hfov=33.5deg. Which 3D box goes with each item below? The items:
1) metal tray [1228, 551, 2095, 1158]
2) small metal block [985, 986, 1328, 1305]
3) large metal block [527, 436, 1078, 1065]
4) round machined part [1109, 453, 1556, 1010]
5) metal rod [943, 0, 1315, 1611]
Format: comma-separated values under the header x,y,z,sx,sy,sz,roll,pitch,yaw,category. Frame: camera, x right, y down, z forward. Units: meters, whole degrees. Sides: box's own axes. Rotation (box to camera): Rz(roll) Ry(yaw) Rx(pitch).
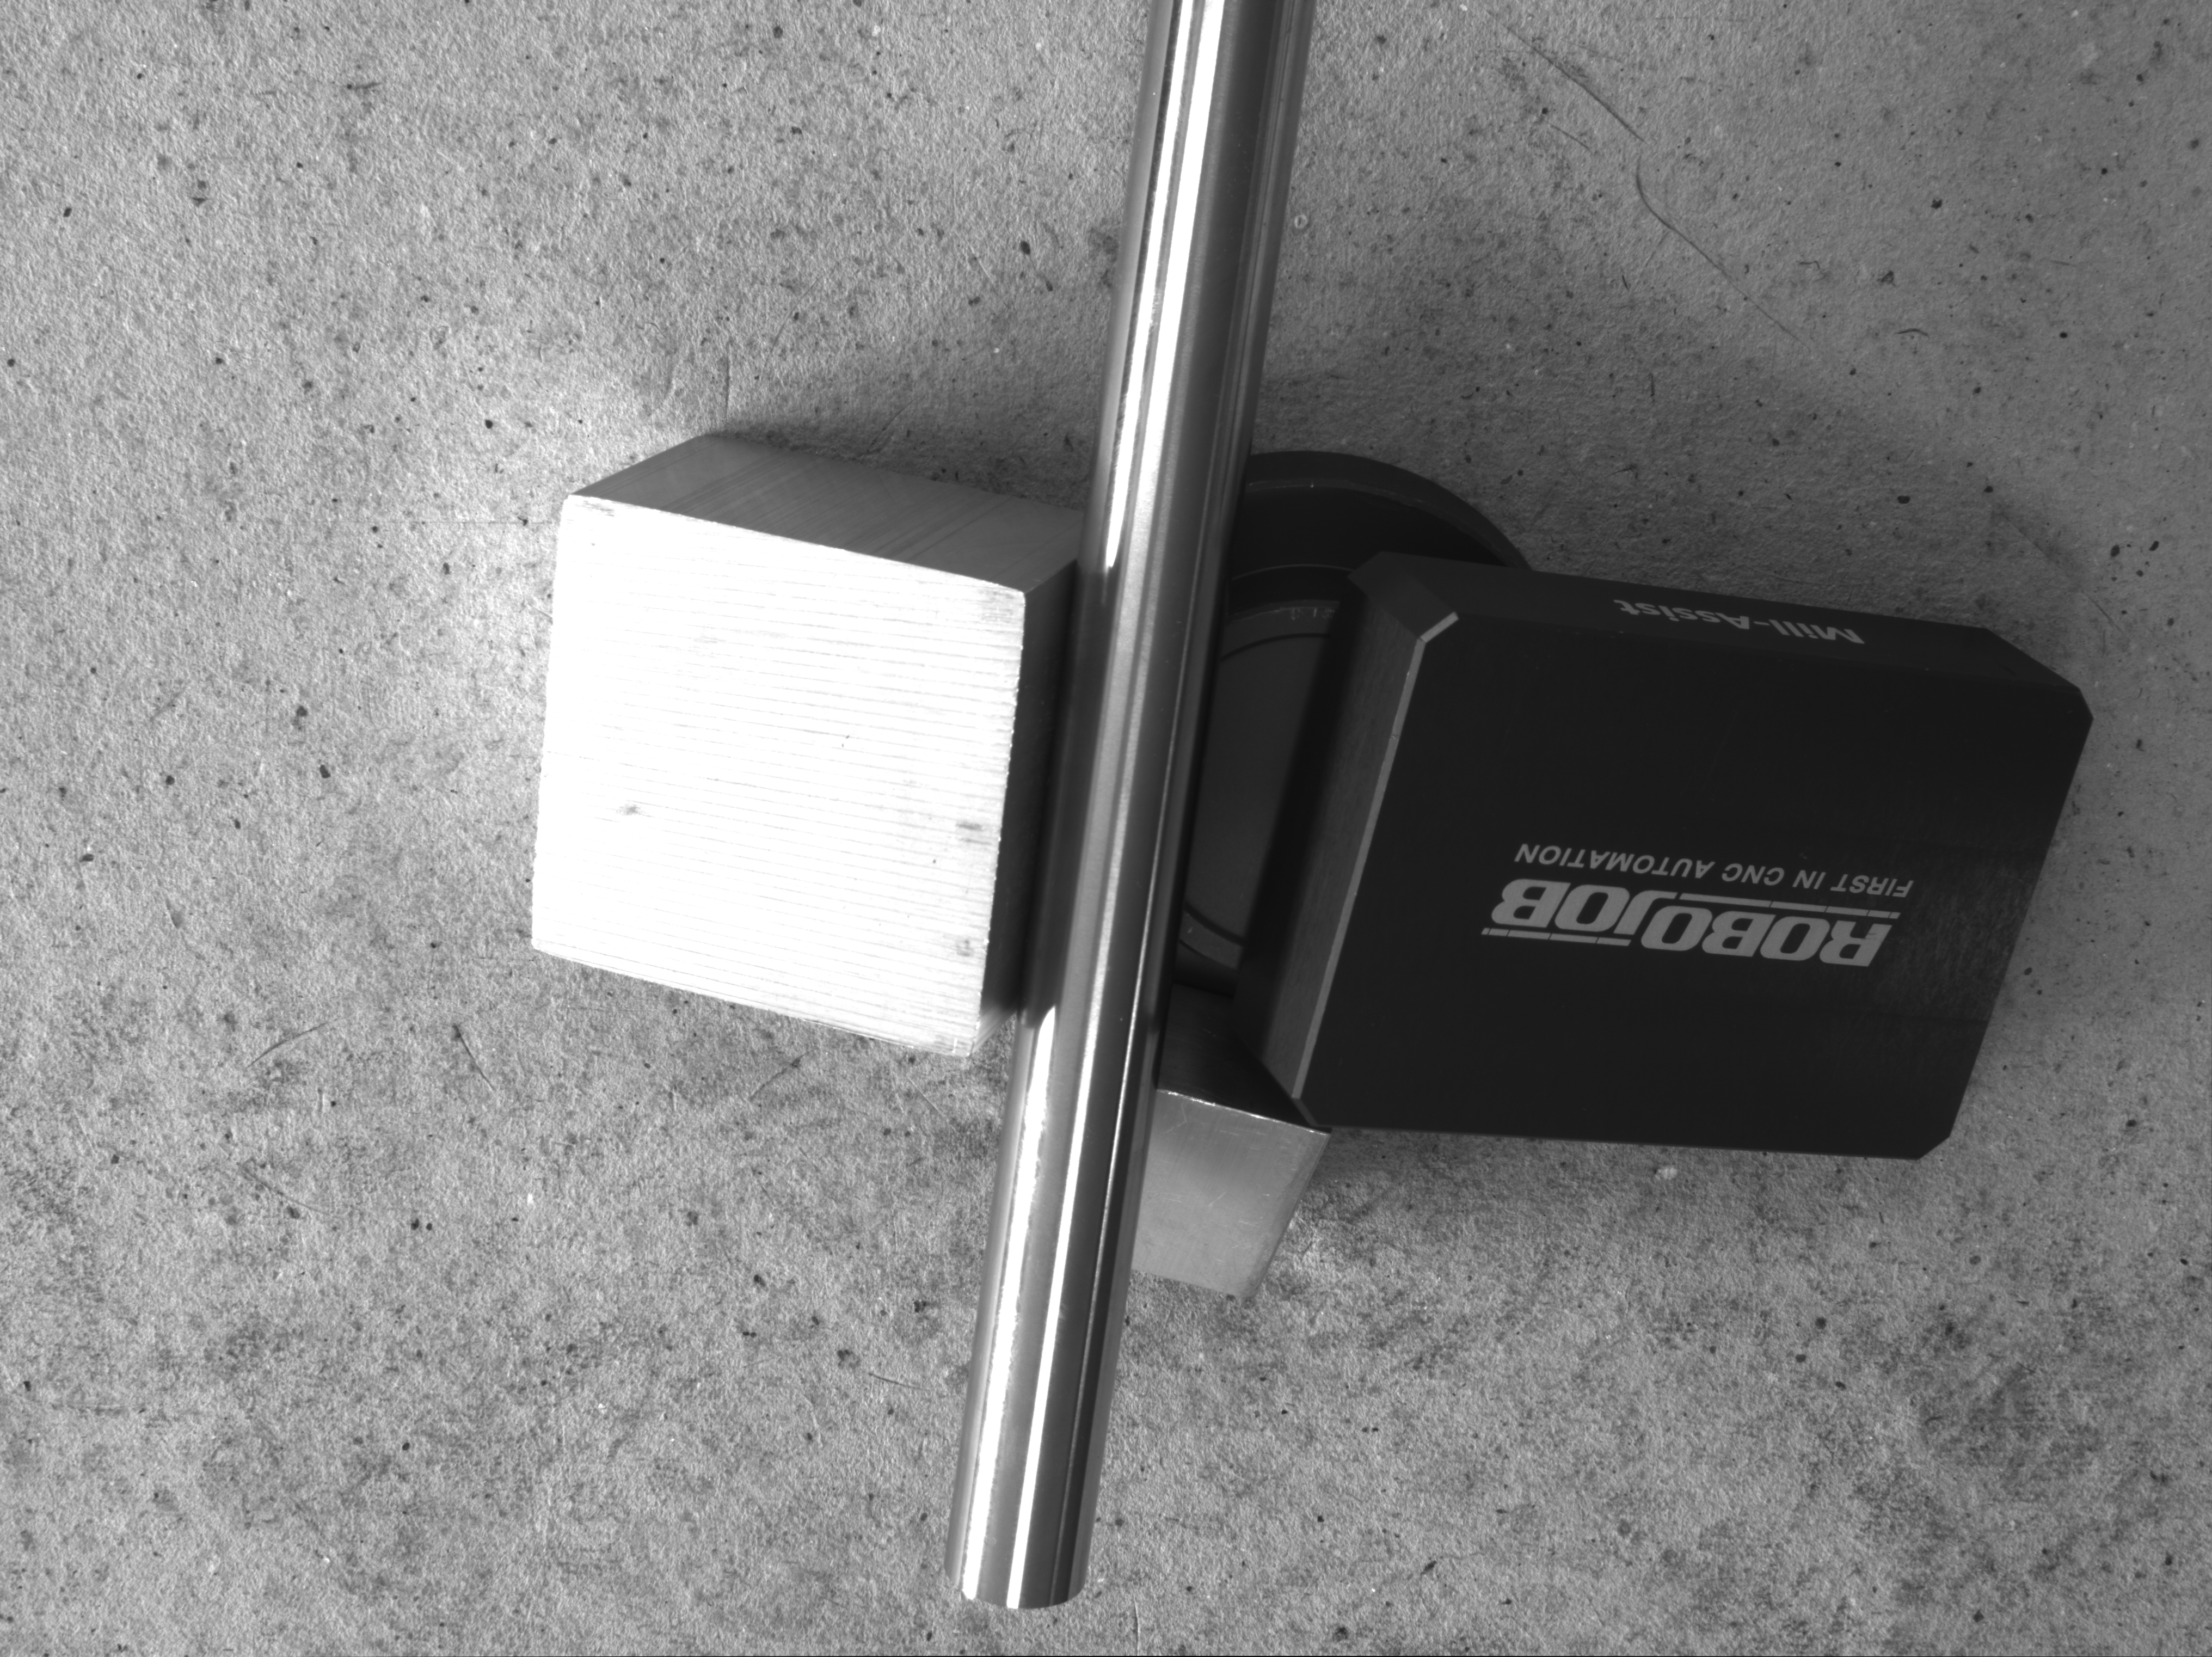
x,y,z,sx,sy,sz,roll,pitch,yaw,category
0.094,0.007,0.620,0.130,0.030,0.090,5,112,-24,metal tray
0.010,0.054,0.654,0.050,0.025,0.050,15,135,-5,small metal block
-0.047,-0.015,0.614,0.080,0.050,0.080,13,110,15,large metal block
0.034,-0.012,0.631,0.098,0.042,0.098,0,110,0,round machined part
0.004,-0.011,0.596,0.025,0.025,0.300,7,108,-2,metal rod
